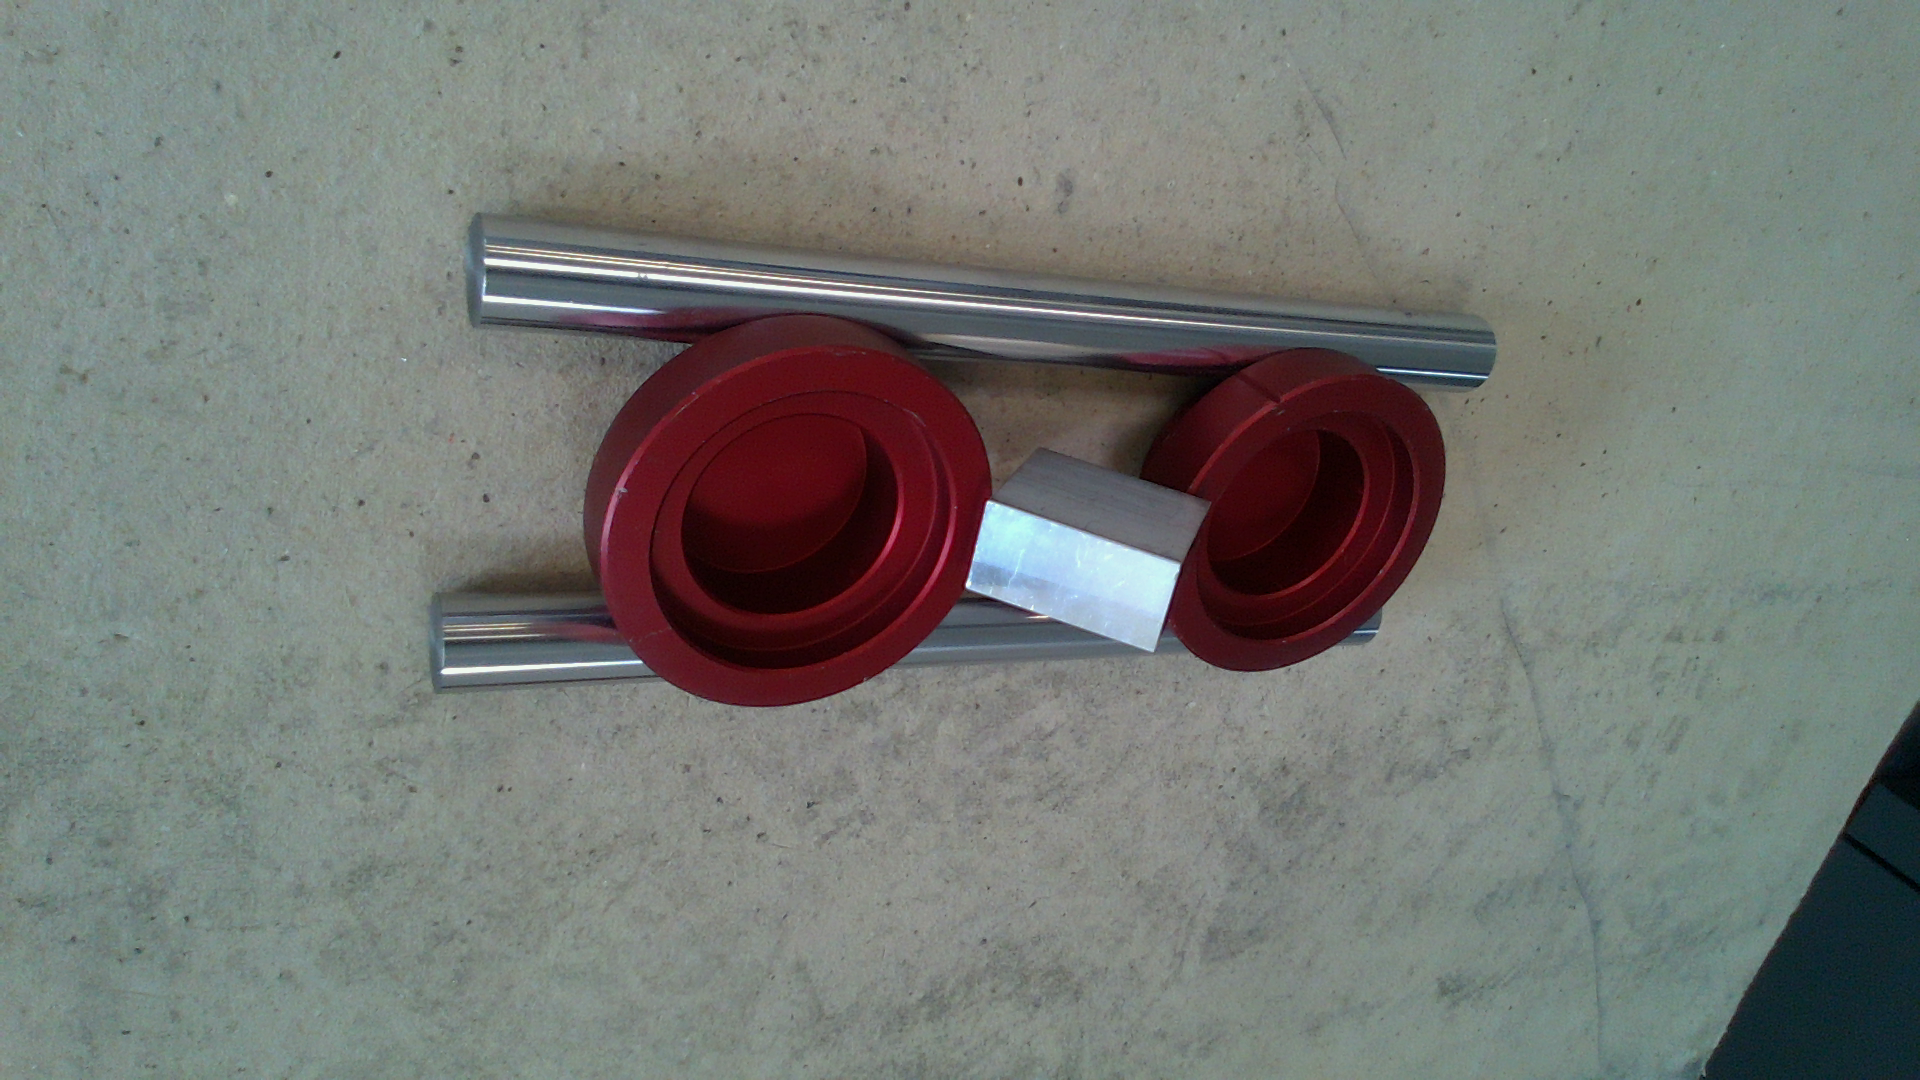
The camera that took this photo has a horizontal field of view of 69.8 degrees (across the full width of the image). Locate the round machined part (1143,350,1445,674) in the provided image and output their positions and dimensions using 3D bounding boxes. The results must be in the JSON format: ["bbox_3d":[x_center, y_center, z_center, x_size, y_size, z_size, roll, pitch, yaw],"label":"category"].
[{"bbox_3d":[0.093,-0.012,0.415,0.098,0.042,0.098,-14,124,-21],"label":"round machined part"}]

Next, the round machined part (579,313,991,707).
[{"bbox_3d":[-0.045,-0.010,0.342,0.098,0.042,0.098,-14,124,-21],"label":"round machined part"}]

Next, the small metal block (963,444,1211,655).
[{"bbox_3d":[0.034,0.001,0.358,0.050,0.050,0.025,19,115,11],"label":"small metal block"}]

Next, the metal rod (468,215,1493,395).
[{"bbox_3d":[0.028,-0.058,0.368,0.301,0.025,0.025,0,119,-28],"label":"metal rod"}]

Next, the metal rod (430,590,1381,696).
[{"bbox_3d":[0.005,0.025,0.407,0.301,0.025,0.025,0,119,-28],"label":"metal rod"}]
